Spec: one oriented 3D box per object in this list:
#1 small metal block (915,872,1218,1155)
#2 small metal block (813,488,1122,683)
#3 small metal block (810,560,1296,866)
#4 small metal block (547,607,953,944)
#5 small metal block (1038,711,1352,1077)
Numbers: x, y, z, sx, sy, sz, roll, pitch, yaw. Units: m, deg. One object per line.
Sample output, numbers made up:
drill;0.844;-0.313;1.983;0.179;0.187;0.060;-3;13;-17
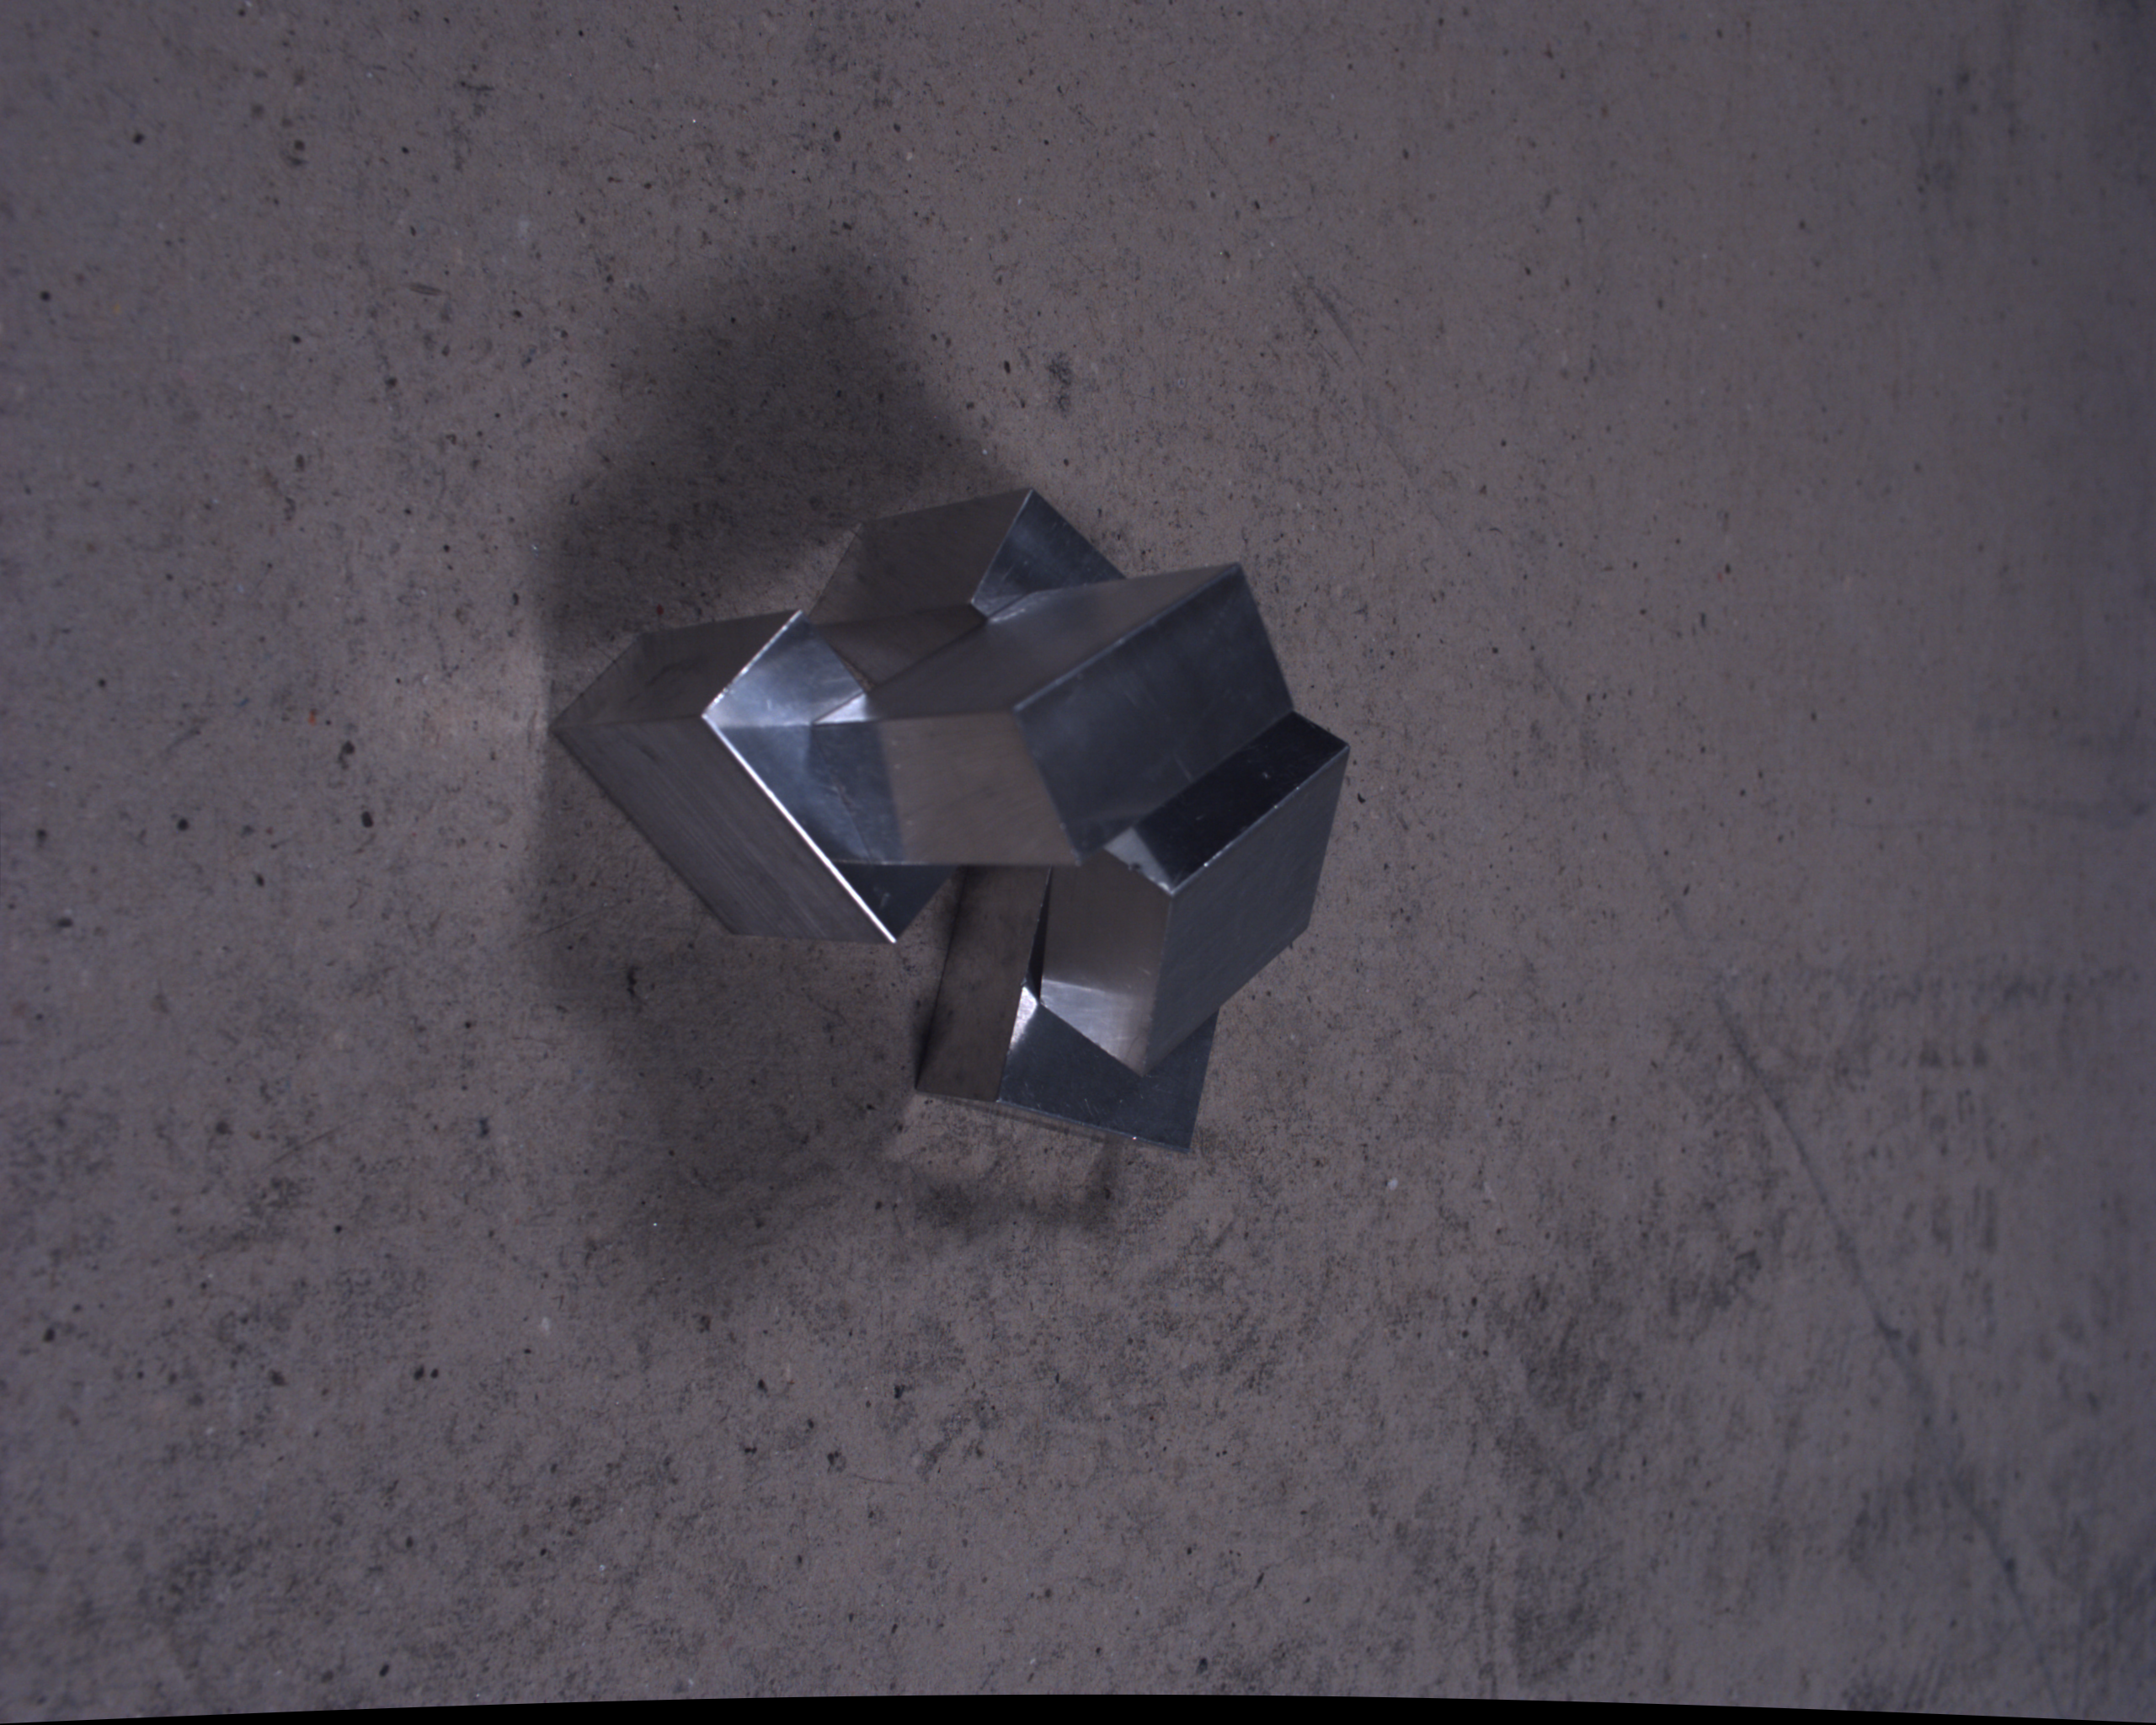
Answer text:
small metal block;0.001;0.027;0.409;0.050;0.025;0.050;21;77;-38
small metal block;-0.013;-0.040;0.381;0.050;0.050;0.025;39;66;-33
small metal block;-0.004;-0.023;0.323;0.050;0.050;0.025;-36;113;-34
small metal block;-0.053;-0.013;0.348;0.025;0.050;0.050;-53;121;-27
small metal block;0.020;0.003;0.377;0.050;0.025;0.050;-38;151;-33
